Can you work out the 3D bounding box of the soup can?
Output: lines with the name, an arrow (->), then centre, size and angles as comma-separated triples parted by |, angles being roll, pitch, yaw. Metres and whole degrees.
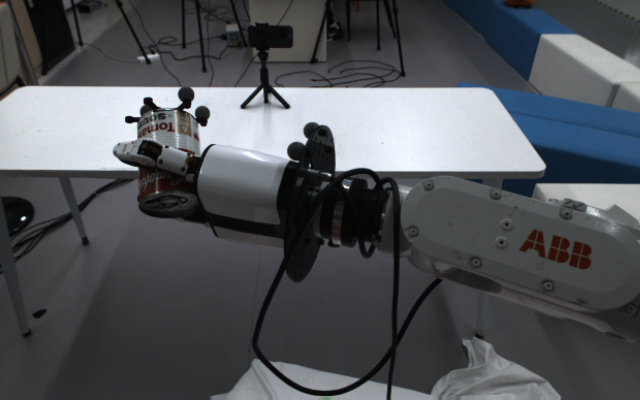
soup can -> -0.161, -0.038, 0.527 | 0.067, 0.067, 0.101 | -6, 67, -12
